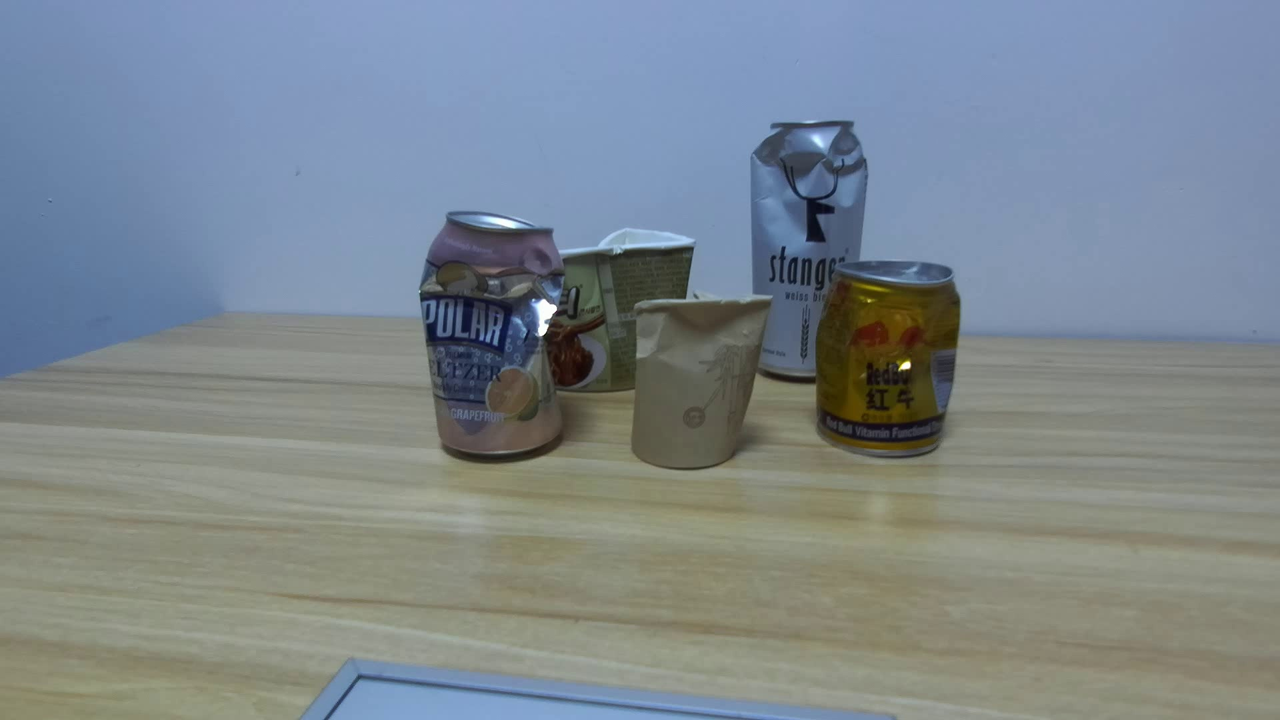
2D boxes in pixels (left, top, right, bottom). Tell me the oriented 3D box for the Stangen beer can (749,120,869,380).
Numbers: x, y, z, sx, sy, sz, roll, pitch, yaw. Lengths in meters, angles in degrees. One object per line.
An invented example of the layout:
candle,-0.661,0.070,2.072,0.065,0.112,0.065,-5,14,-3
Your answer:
Stangen beer can,0.113,-0.073,0.478,0.066,0.166,0.065,-17,23,-40

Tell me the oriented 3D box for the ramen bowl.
ramen bowl,-0.035,-0.038,0.491,0.129,0.093,0.111,-11,20,-30

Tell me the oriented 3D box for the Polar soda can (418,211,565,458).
Polar soda can,-0.070,-0.013,0.370,0.071,0.121,0.067,7,13,21

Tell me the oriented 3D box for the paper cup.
paper cup,0.023,0.007,0.360,0.067,0.083,0.058,-4,14,-19

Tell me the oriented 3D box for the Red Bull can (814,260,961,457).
Red Bull can,0.128,-0.004,0.372,0.072,0.092,0.072,1,19,0
